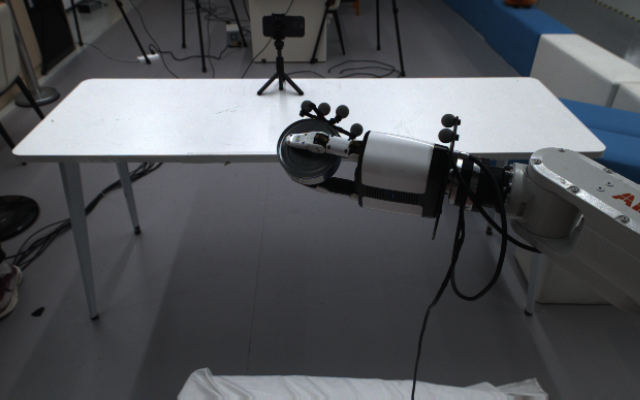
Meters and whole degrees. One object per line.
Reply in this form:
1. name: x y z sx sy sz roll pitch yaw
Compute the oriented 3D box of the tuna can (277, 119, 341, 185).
1. tuna can: -0.013 -0.065 0.659 0.085 0.034 0.085 -2 71 6
